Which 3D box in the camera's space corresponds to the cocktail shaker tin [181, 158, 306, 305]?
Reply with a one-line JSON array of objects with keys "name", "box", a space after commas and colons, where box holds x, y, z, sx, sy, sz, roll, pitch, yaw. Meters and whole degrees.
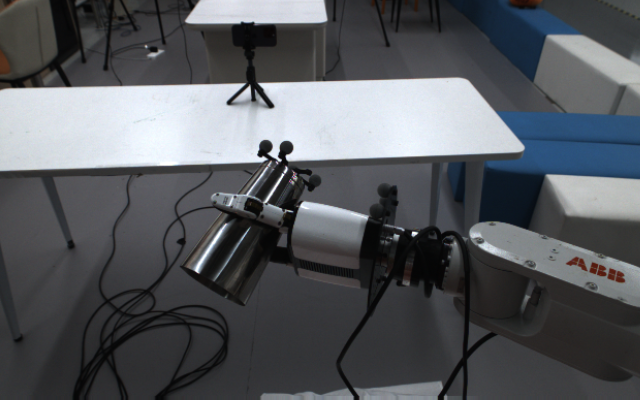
[{"name": "cocktail shaker tin", "box": [-0.086, 0.033, 0.608, 0.093, 0.093, 0.170, 20, 67, 24]}]
